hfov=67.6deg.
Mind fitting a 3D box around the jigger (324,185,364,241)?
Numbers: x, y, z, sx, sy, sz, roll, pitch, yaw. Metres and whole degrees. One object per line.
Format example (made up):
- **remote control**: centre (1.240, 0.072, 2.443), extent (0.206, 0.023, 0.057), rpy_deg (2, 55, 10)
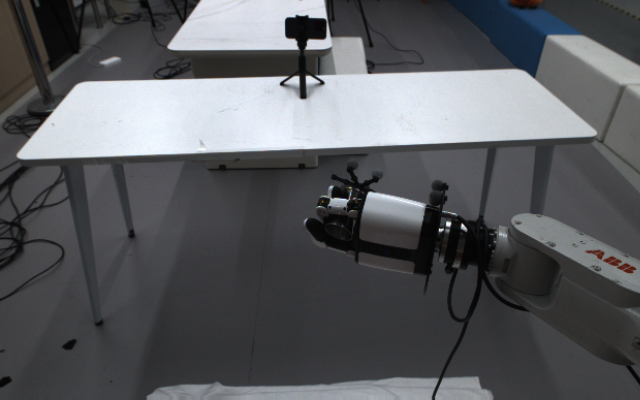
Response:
- **jigger**: centre (0.040, 0.017, 0.708), extent (0.043, 0.043, 0.071), rpy_deg (15, 58, 18)
